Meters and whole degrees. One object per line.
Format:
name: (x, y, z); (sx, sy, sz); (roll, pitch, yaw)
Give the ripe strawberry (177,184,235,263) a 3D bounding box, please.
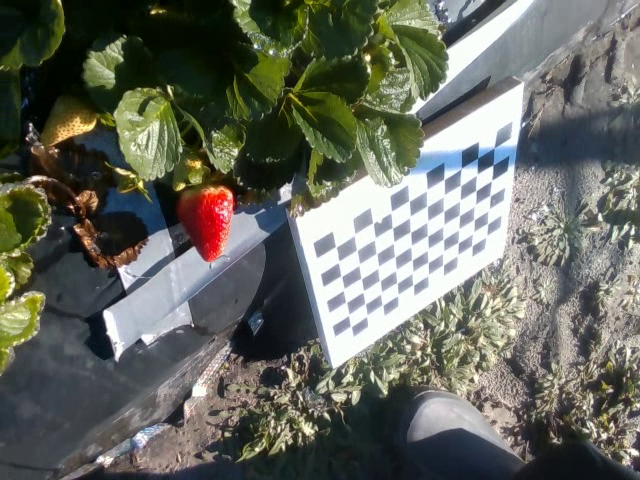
ripe strawberry: (-0.096, -0.013, 0.556); (0.061, 0.065, 0.057); (-6, -6, -41)
